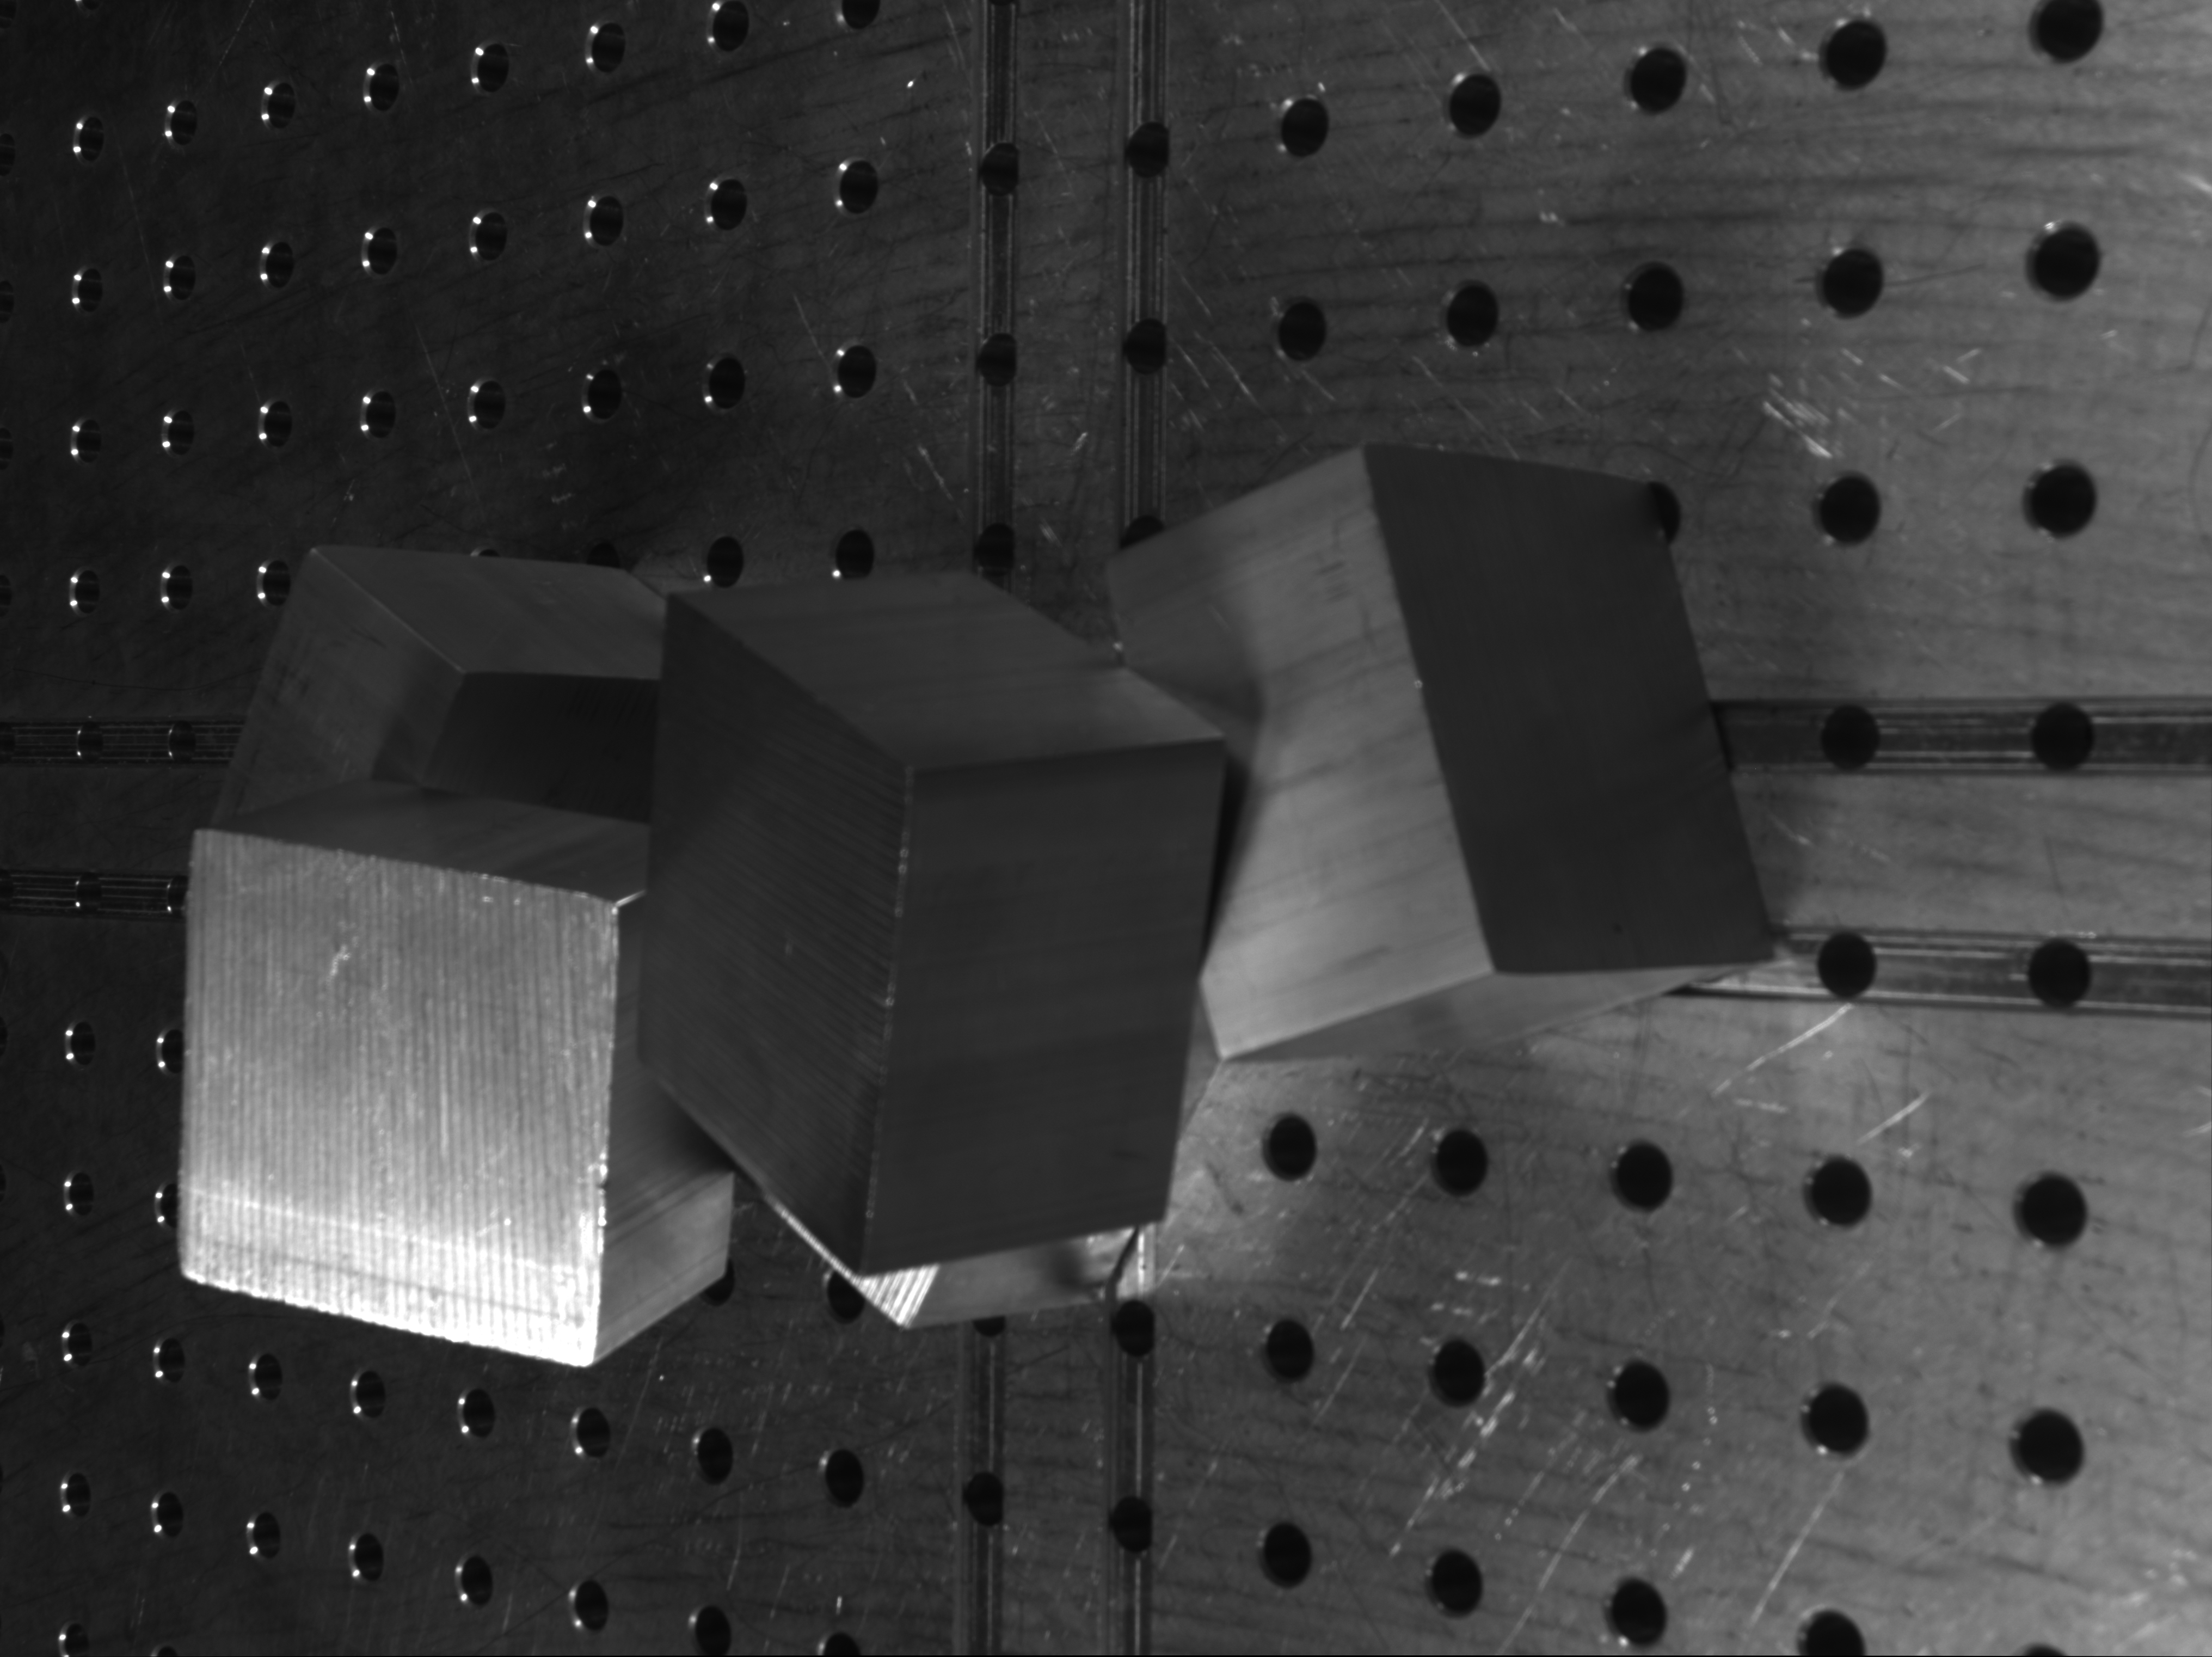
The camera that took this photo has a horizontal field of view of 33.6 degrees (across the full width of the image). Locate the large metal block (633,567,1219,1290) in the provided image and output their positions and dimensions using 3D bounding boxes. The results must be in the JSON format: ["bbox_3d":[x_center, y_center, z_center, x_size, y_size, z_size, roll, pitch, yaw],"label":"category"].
[{"bbox_3d":[-0.030,0.012,0.558,0.080,0.050,0.080,35,125,50],"label":"large metal block"}]

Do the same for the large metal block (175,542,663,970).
[{"bbox_3d":[-0.120,-0.005,0.701,0.050,0.080,0.080,36,112,34],"label":"large metal block"}]

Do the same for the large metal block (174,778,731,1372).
[{"bbox_3d":[-0.110,0.040,0.628,0.080,0.050,0.080,9,103,18],"label":"large metal block"}]

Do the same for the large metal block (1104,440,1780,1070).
[{"bbox_3d":[0.052,-0.010,0.561,0.050,0.080,0.080,-21,77,37],"label":"large metal block"}]

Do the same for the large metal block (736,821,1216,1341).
[{"bbox_3d":[-0.028,0.031,0.645,0.080,0.050,0.080,39,113,33],"label":"large metal block"}]
